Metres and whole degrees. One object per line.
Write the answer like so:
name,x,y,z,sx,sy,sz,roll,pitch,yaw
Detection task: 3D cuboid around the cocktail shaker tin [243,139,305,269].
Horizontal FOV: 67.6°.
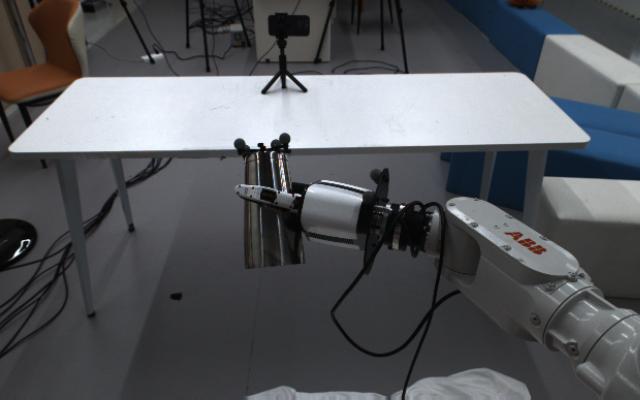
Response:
cocktail shaker tin,-0.076,0.016,0.738,0.093,0.170,0.093,-6,-7,-1
